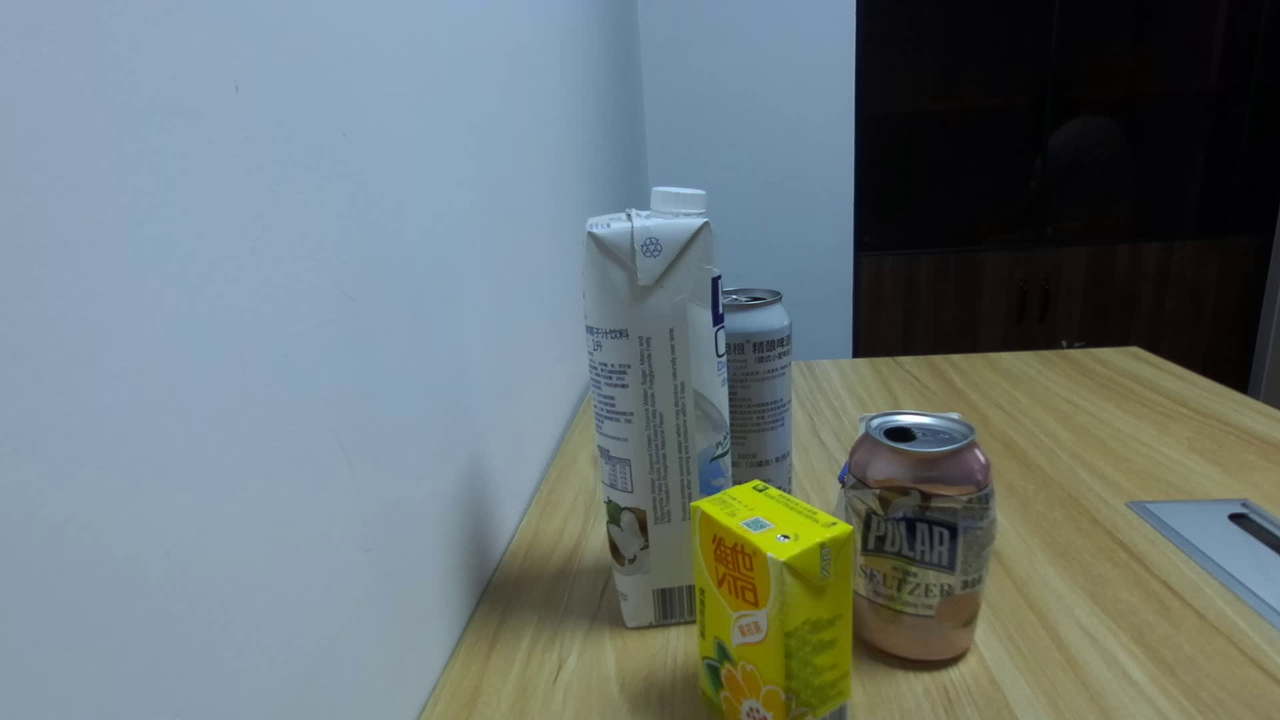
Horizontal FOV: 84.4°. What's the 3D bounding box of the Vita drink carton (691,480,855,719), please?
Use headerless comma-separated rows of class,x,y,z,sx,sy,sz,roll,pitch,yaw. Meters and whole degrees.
Vita drink carton,0.060,0.120,0.326,0.044,0.109,0.066,-13,18,-28

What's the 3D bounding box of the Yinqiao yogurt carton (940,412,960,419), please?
Yinqiao yogurt carton,0.154,0.055,0.399,0.077,0.083,0.093,-5,24,16

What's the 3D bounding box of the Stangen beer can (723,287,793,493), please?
Stangen beer can,0.076,0.037,0.502,0.067,0.171,0.067,-4,16,2

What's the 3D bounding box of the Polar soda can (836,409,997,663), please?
Polar soda can,0.144,0.092,0.377,0.067,0.122,0.074,-9,18,-22
